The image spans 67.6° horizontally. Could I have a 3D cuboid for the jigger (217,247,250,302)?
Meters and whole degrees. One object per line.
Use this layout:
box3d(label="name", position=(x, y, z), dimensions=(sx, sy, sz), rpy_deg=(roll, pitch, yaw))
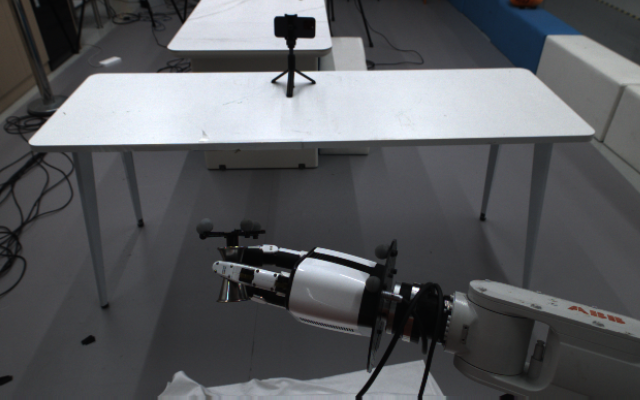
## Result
box3d(label="jigger", position=(-0.111, 0.094, 0.618), dimensions=(0.043, 0.071, 0.043), rpy_deg=(-2, -7, 0))
